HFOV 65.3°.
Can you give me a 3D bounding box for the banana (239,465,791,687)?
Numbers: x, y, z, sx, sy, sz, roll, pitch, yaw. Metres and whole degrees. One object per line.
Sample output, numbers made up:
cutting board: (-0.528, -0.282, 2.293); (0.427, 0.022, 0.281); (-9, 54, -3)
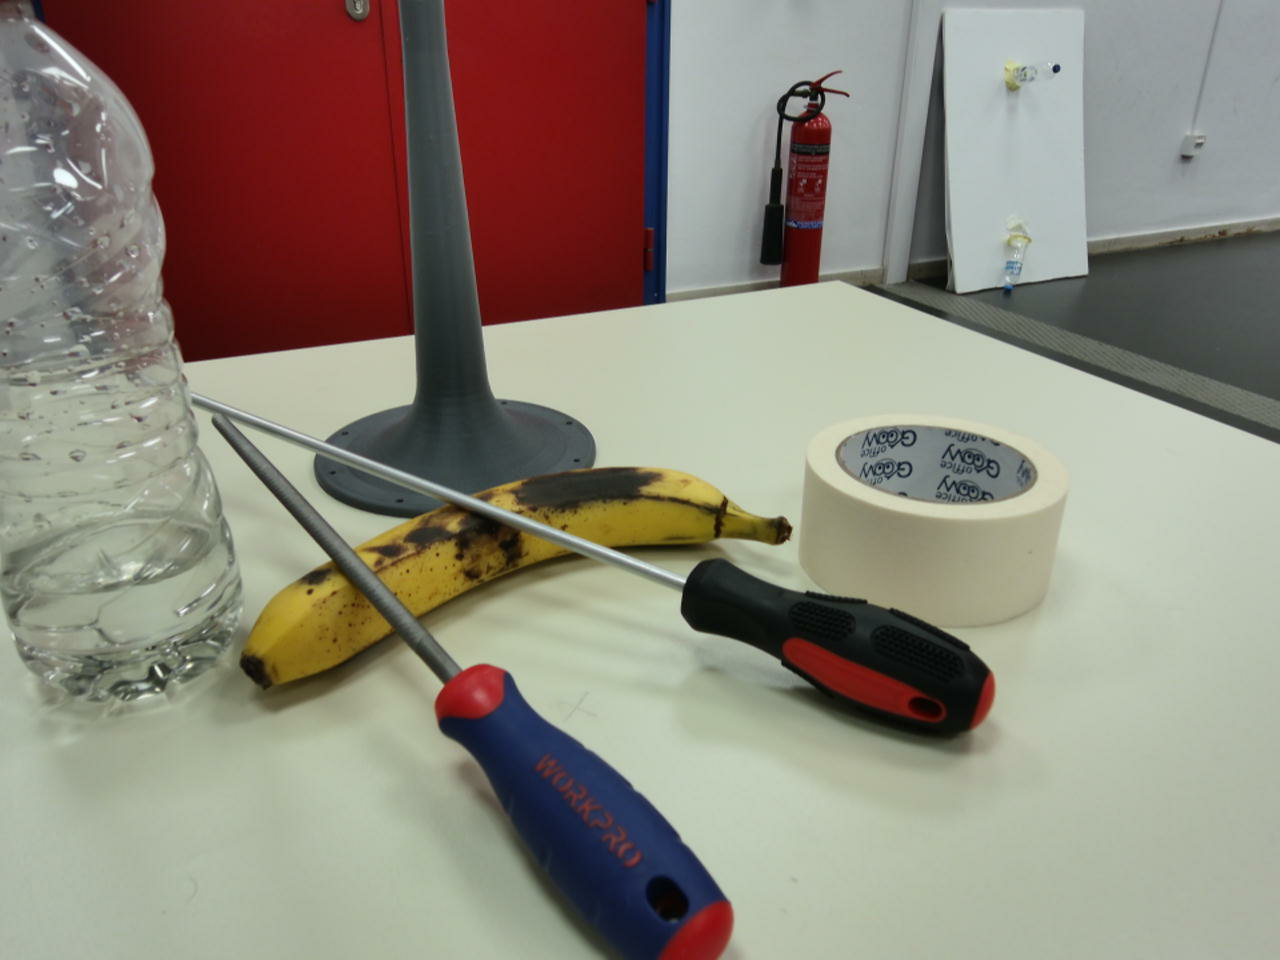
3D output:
banana: (-0.051, 0.028, 0.410); (0.222, 0.037, 0.084); (-11, 26, -24)
